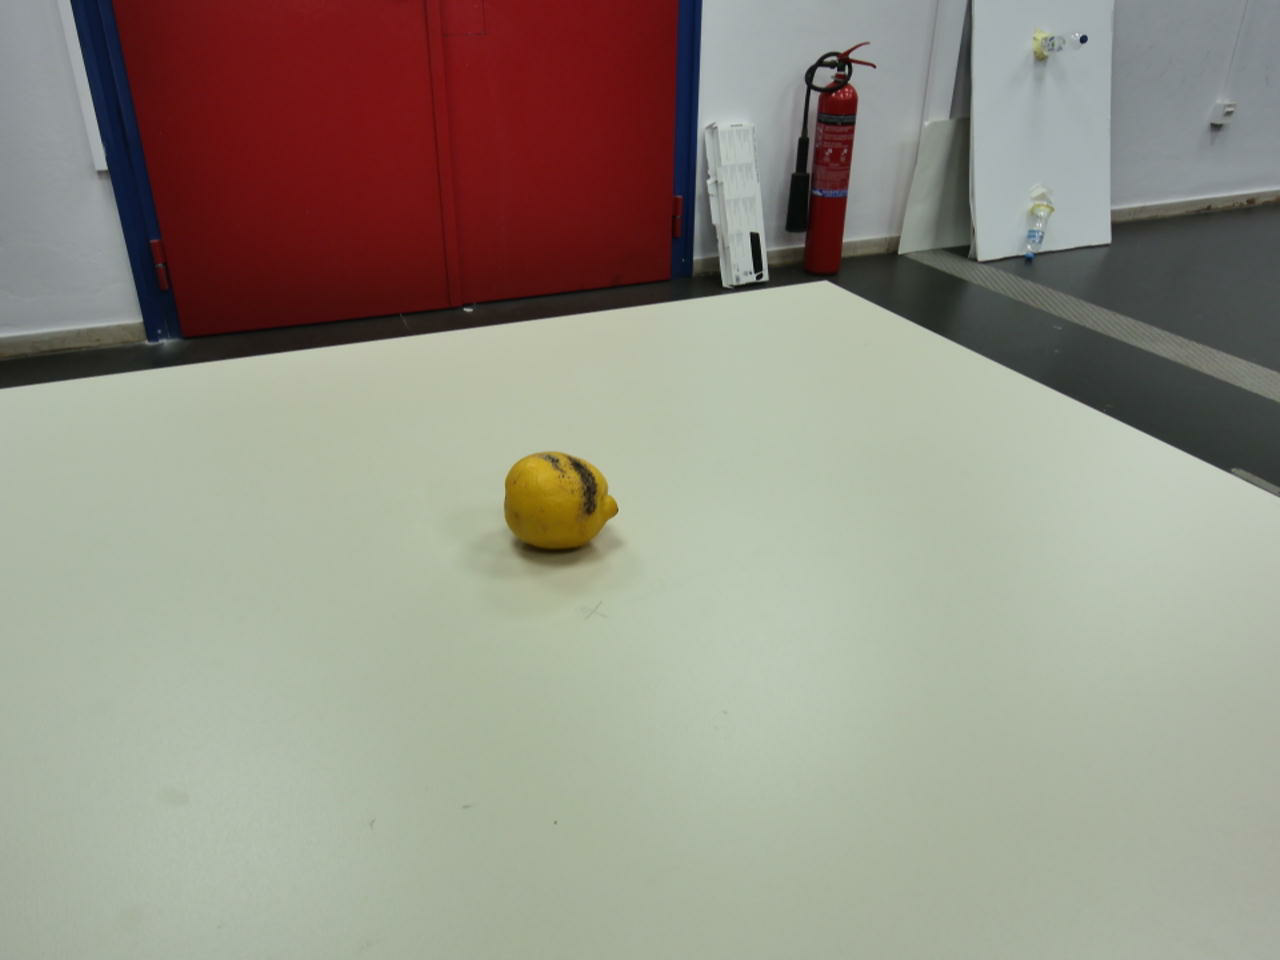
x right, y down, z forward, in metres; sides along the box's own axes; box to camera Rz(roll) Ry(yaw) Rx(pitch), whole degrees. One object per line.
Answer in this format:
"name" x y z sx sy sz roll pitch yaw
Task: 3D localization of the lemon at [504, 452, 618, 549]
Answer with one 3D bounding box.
"lemon" -0.049 0.012 0.577 0.061 0.056 0.058 -16 30 -29
